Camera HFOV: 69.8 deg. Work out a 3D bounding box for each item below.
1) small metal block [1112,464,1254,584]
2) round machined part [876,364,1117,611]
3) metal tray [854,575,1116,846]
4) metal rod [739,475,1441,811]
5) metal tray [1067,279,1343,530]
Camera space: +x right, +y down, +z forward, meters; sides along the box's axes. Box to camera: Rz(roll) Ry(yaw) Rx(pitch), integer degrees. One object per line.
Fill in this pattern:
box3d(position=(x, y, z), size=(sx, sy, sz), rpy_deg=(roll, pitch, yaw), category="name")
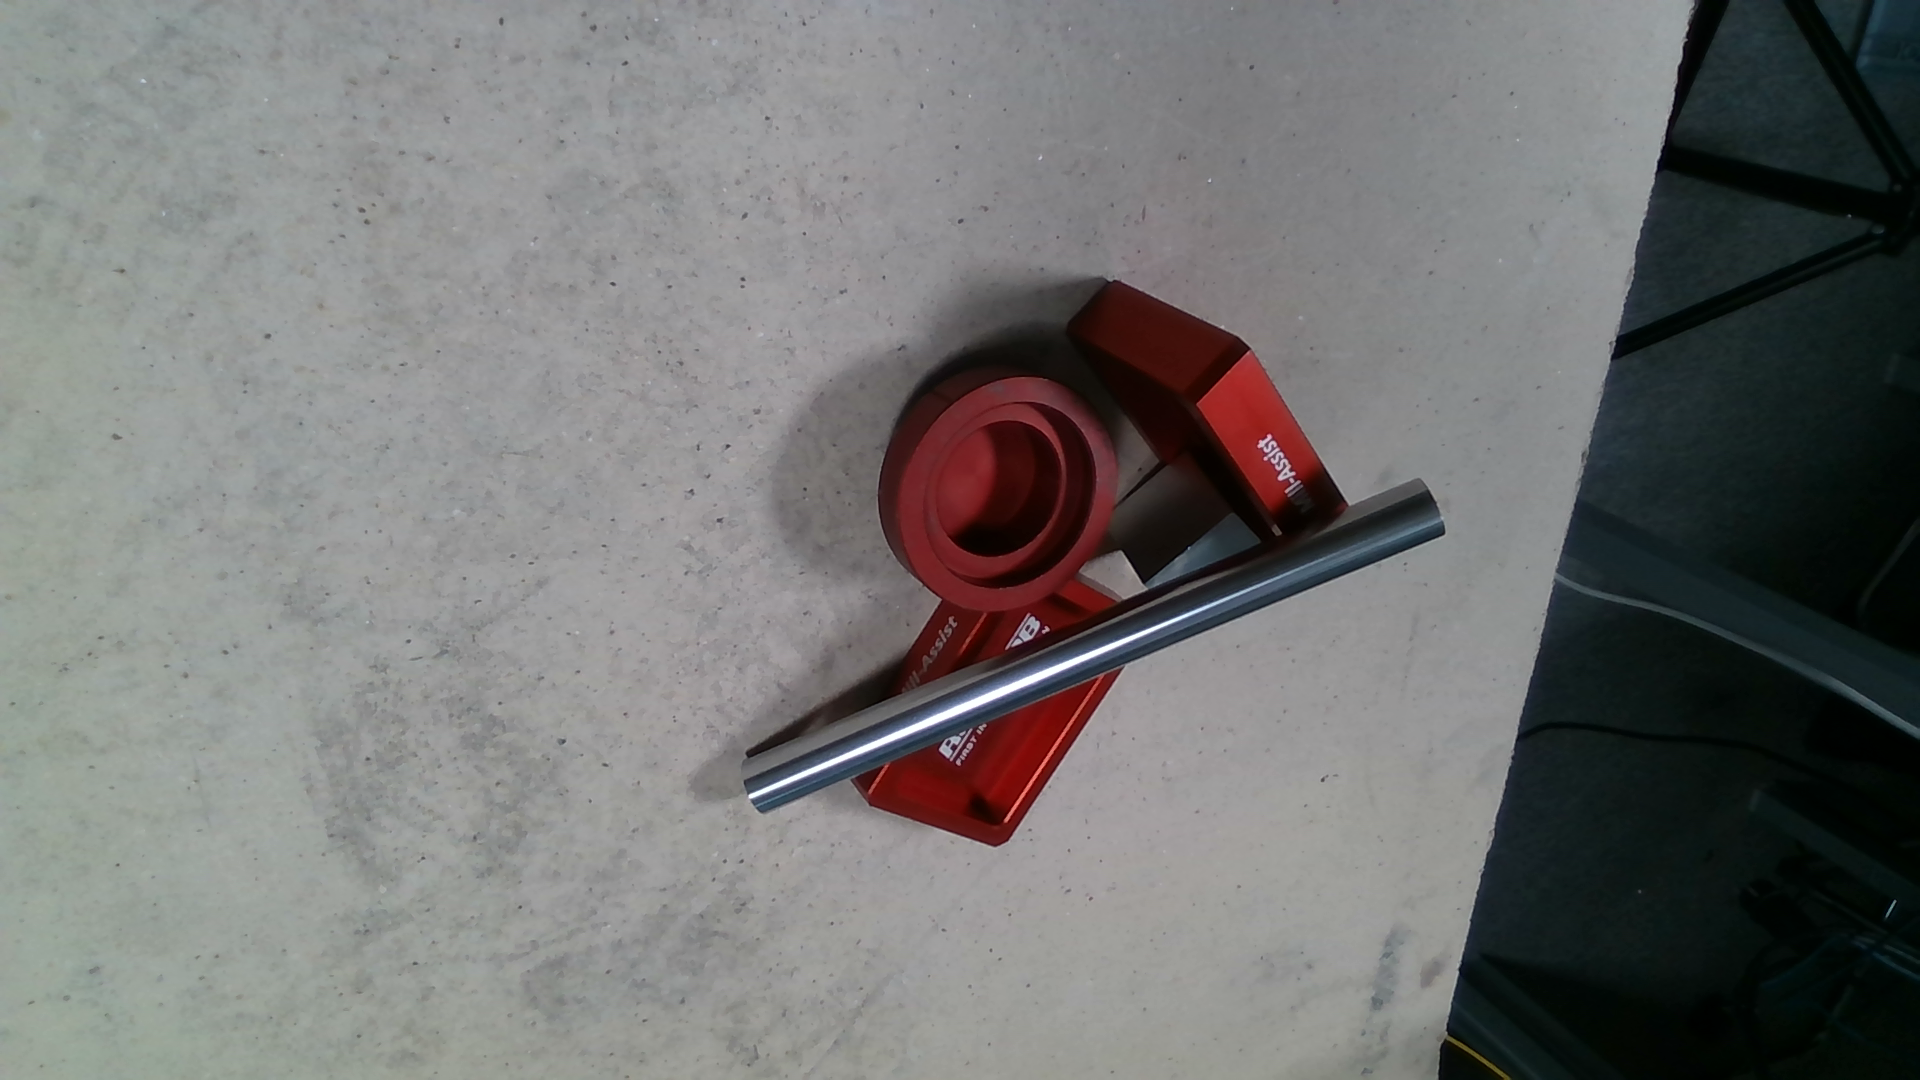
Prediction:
box3d(position=(0.098, -0.006, 0.615), size=(0.050, 0.050, 0.025), rpy_deg=(-41, 128, 12), category="small metal block")
box3d(position=(0.011, -0.024, 0.559), size=(0.098, 0.042, 0.098), rpy_deg=(-10, 114, -23), category="round machined part")
box3d(position=(0.017, 0.069, 0.625), size=(0.090, 0.030, 0.130), rpy_deg=(27, 99, -38), category="metal tray")
box3d(position=(0.049, 0.045, 0.566), size=(0.300, 0.025, 0.025), rpy_deg=(-23, 128, 8), category="metal rod")
box3d(position=(0.108, -0.045, 0.580), size=(0.030, 0.090, 0.130), rpy_deg=(-46, 129, -3), category="metal tray")
